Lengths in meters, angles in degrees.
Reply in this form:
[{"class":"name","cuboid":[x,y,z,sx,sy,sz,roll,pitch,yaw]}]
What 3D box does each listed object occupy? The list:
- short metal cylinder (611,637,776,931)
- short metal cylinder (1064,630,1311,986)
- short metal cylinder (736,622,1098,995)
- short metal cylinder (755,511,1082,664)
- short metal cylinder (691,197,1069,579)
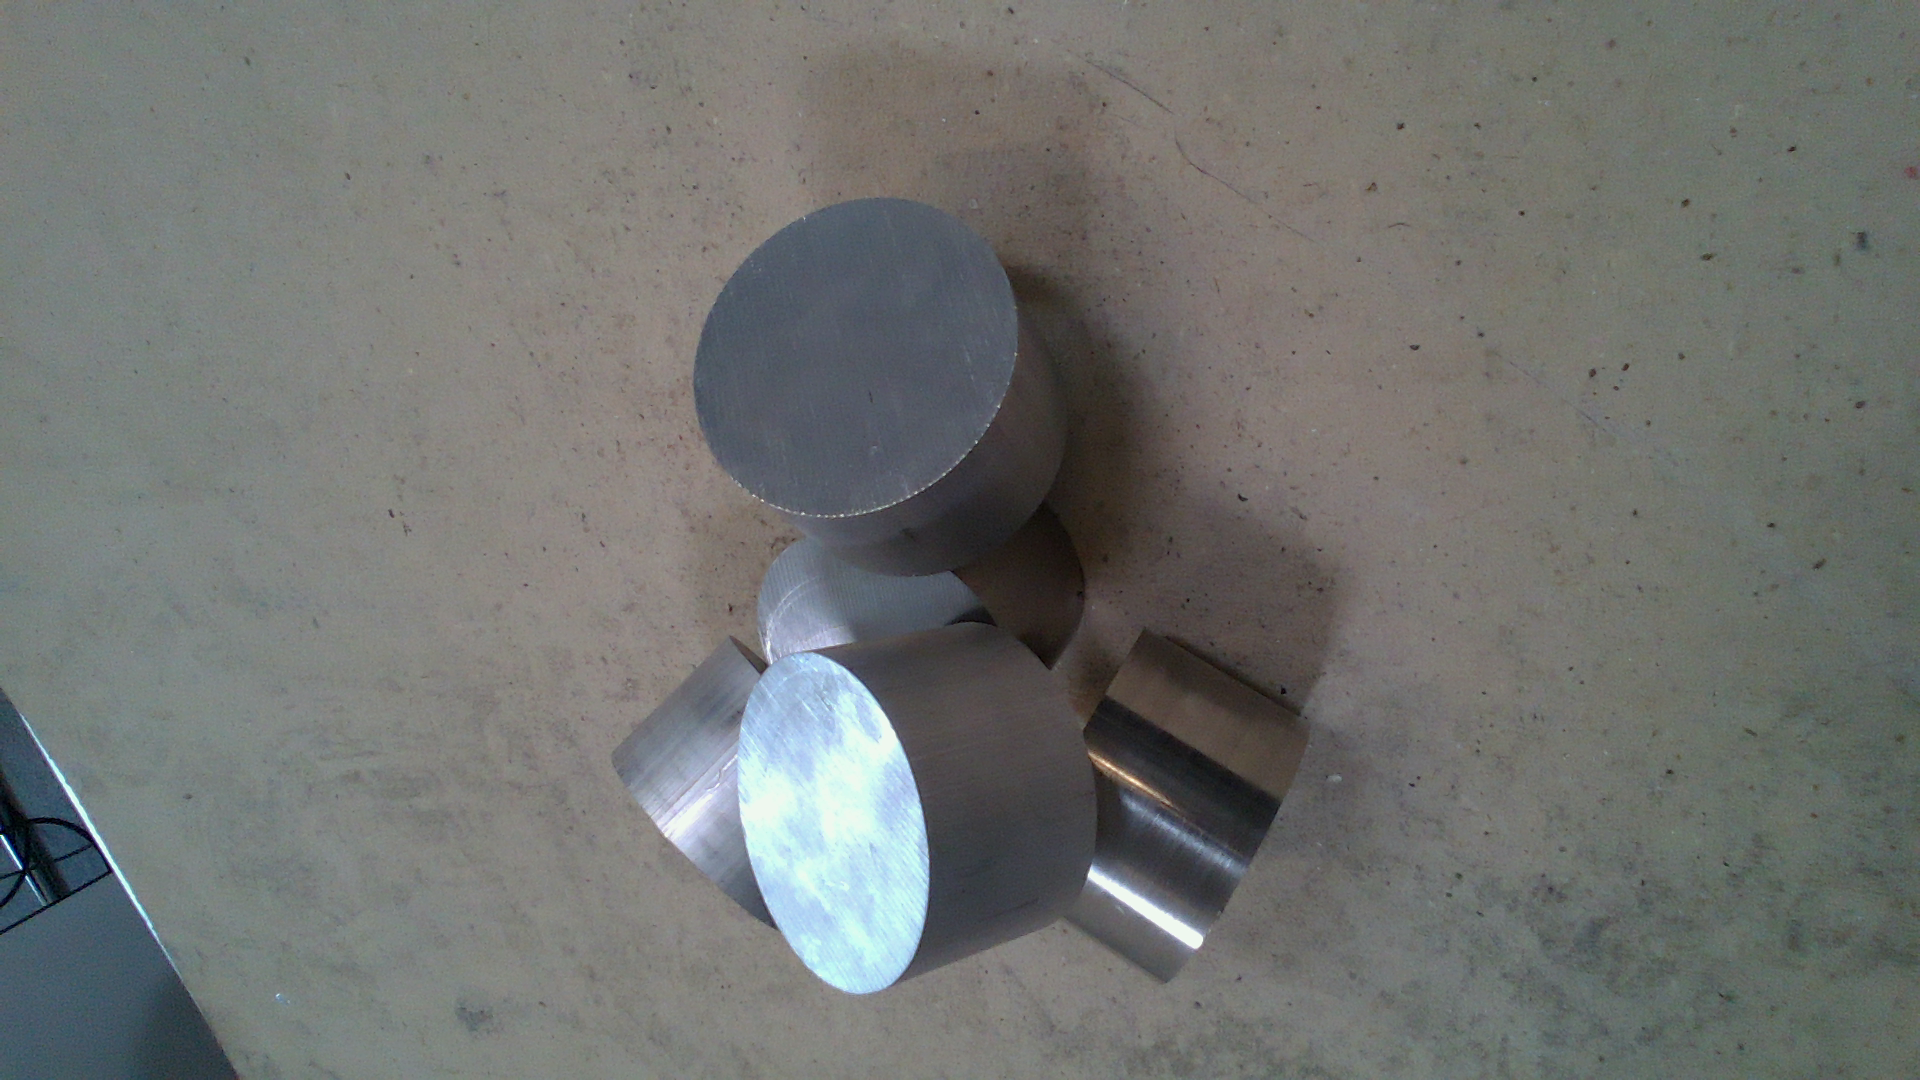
[{"class":"short metal cylinder","cuboid":[-0.062,0.076,0.431,0.080,0.050,0.080,44,174,6]},{"class":"short metal cylinder","cuboid":[0.052,0.071,0.373,0.050,0.080,0.080,30,128,9]},{"class":"short metal cylinder","cuboid":[-0.012,0.063,0.336,0.080,0.050,0.080,12,105,50]},{"class":"short metal cylinder","cuboid":[-0.011,0.021,0.395,0.080,0.050,0.080,13,123,21]},{"class":"short metal cylinder","cuboid":[-0.018,-0.036,0.337,0.080,0.080,0.050,13,167,21]}]
